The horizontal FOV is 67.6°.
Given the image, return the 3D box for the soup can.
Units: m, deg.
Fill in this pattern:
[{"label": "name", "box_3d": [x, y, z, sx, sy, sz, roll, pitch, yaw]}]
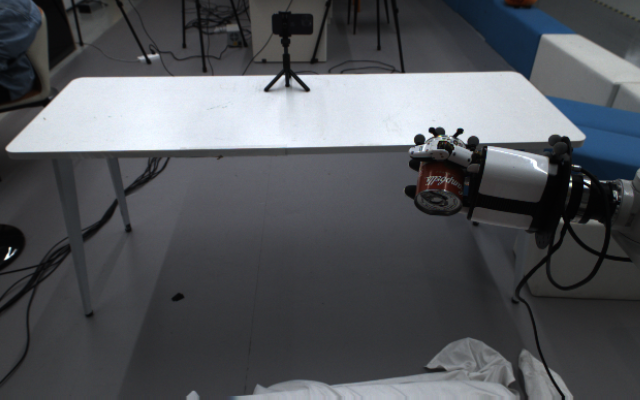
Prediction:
[{"label": "soup can", "box_3d": [0.179, -0.038, 0.707, 0.067, 0.067, 0.101, 9, 58, 10]}]
